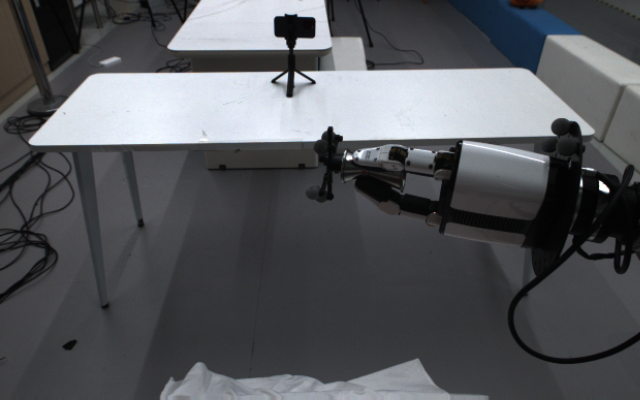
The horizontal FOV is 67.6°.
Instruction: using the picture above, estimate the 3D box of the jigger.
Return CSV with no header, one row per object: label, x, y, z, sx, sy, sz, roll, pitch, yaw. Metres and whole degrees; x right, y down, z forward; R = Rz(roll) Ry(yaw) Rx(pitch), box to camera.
jigger,0.065,-0.039,0.538,0.071,0.043,0.043,7,35,13
